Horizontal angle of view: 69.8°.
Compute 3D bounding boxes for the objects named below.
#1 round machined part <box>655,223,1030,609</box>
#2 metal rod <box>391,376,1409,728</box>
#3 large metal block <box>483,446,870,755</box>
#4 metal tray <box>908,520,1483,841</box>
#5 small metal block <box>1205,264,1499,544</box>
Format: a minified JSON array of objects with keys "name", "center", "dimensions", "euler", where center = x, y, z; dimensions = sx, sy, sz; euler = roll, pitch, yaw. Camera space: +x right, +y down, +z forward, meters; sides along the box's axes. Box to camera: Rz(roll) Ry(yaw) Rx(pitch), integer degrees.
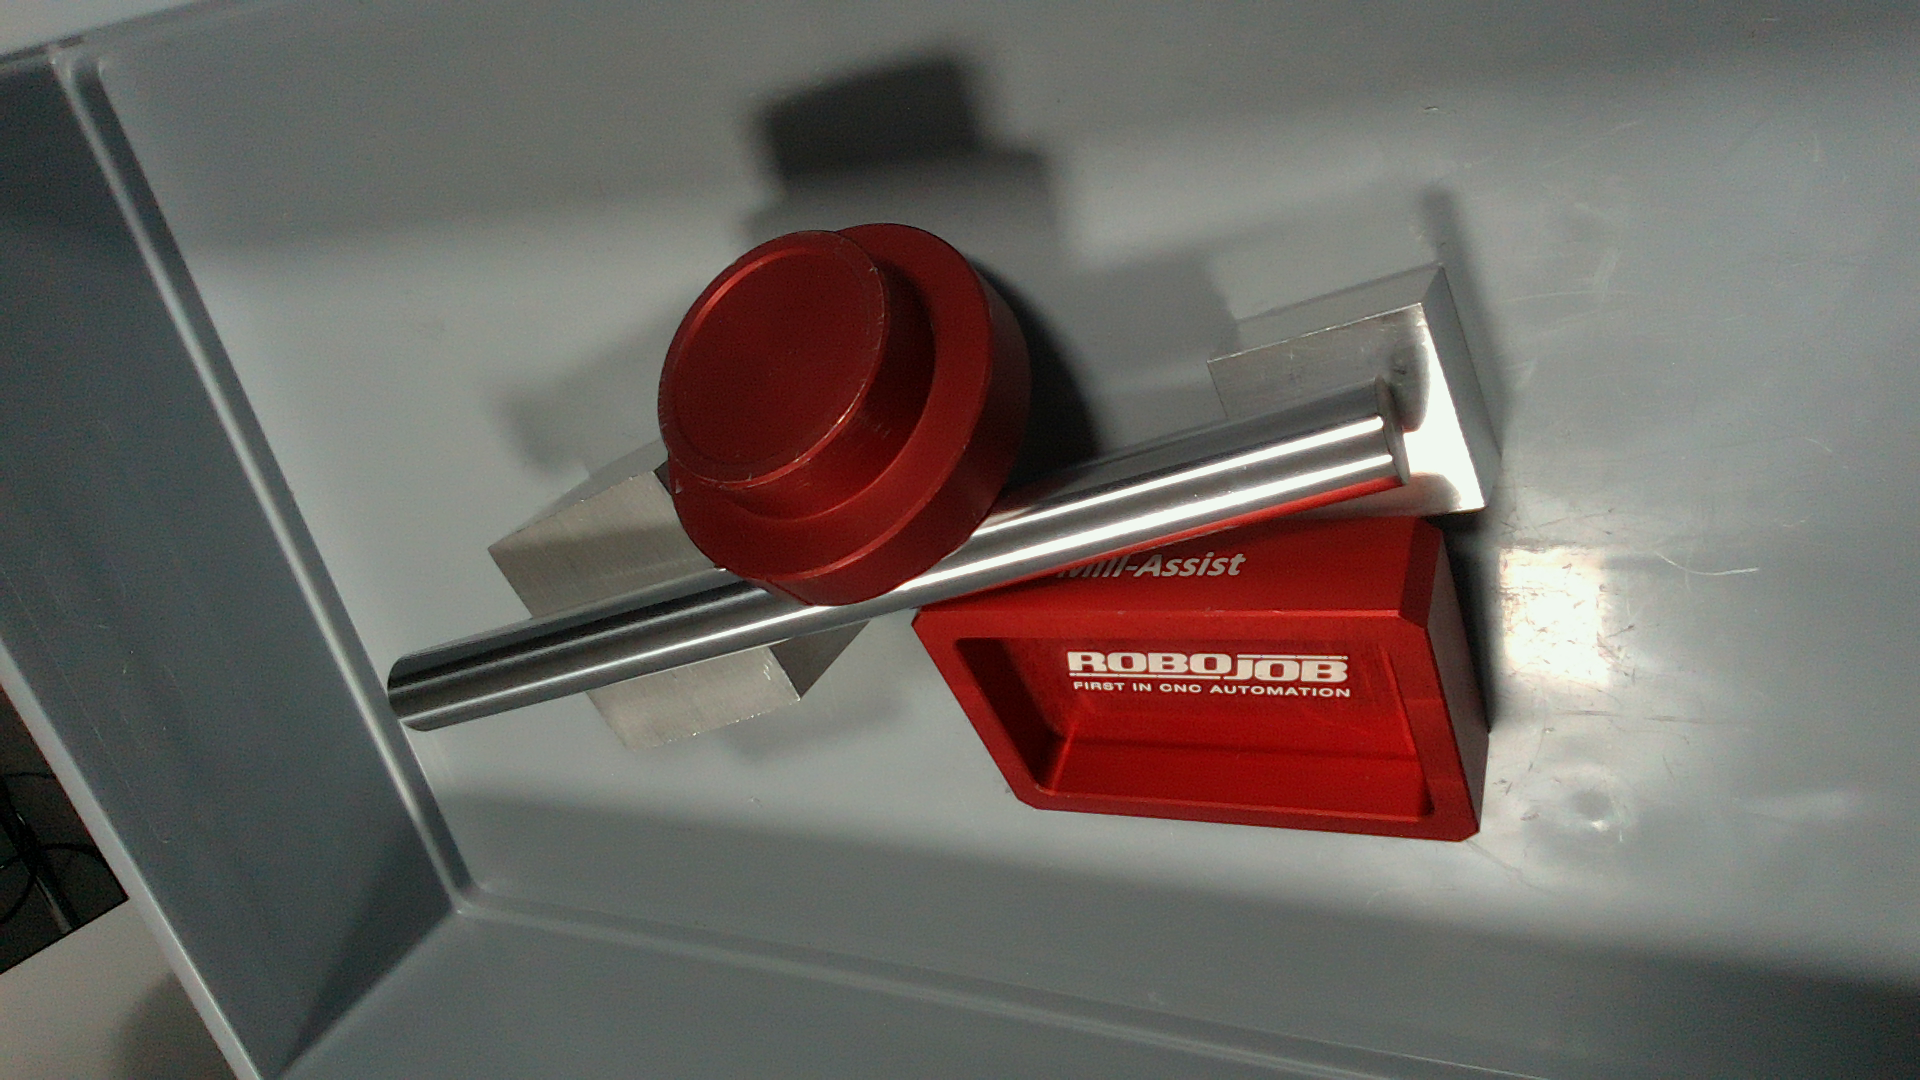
[{"name":"round machined part","center":[-0.035,-0.036,0.338],"dimensions":[0.098,0.098,0.042],"euler":[-5,157,30]},{"name":"metal rod","center":[-0.037,0.012,0.360],"dimensions":[0.299,0.025,0.025],"euler":[-15,111,26]},{"name":"large metal block","center":[-0.086,0.013,0.428],"dimensions":[0.080,0.050,0.080],"euler":[-20,108,36]},{"name":"metal tray","center":[0.063,0.038,0.360],"dimensions":[0.130,0.030,0.090],"euler":[-2,137,29]},{"name":"small metal block","center":[0.092,-0.030,0.323],"dimensions":[0.050,0.025,0.050],"euler":[-12,112,33]}]
